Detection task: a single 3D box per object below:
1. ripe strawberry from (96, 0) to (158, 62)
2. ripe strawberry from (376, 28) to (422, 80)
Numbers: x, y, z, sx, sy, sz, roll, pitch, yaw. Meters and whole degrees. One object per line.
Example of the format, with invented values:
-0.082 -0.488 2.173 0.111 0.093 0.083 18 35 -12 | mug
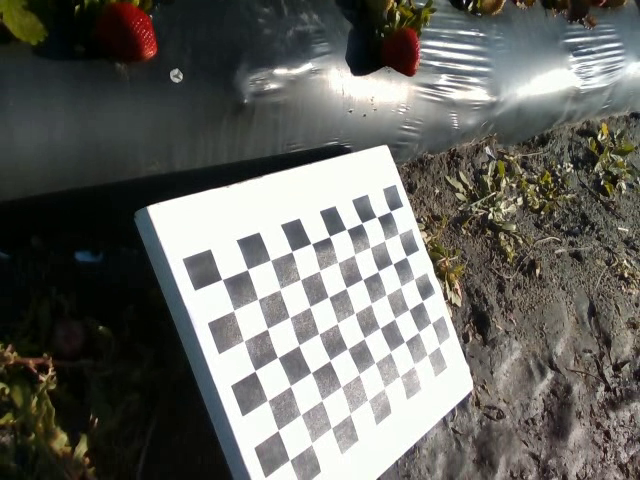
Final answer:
-0.129 -0.139 0.383 0.045 0.055 0.042 -10 -37 -48 | ripe strawberry
0.079 -0.179 0.544 0.042 0.059 0.042 10 -31 -45 | ripe strawberry
